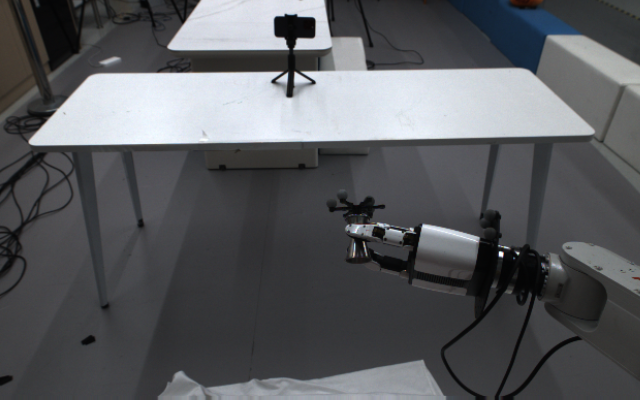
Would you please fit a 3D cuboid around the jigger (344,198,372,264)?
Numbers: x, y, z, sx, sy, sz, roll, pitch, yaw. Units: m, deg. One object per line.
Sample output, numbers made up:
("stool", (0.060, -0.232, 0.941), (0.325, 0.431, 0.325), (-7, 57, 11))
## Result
("jigger", (0.058, 0.058, 0.745), (0.043, 0.043, 0.071), (1, 70, -2))
